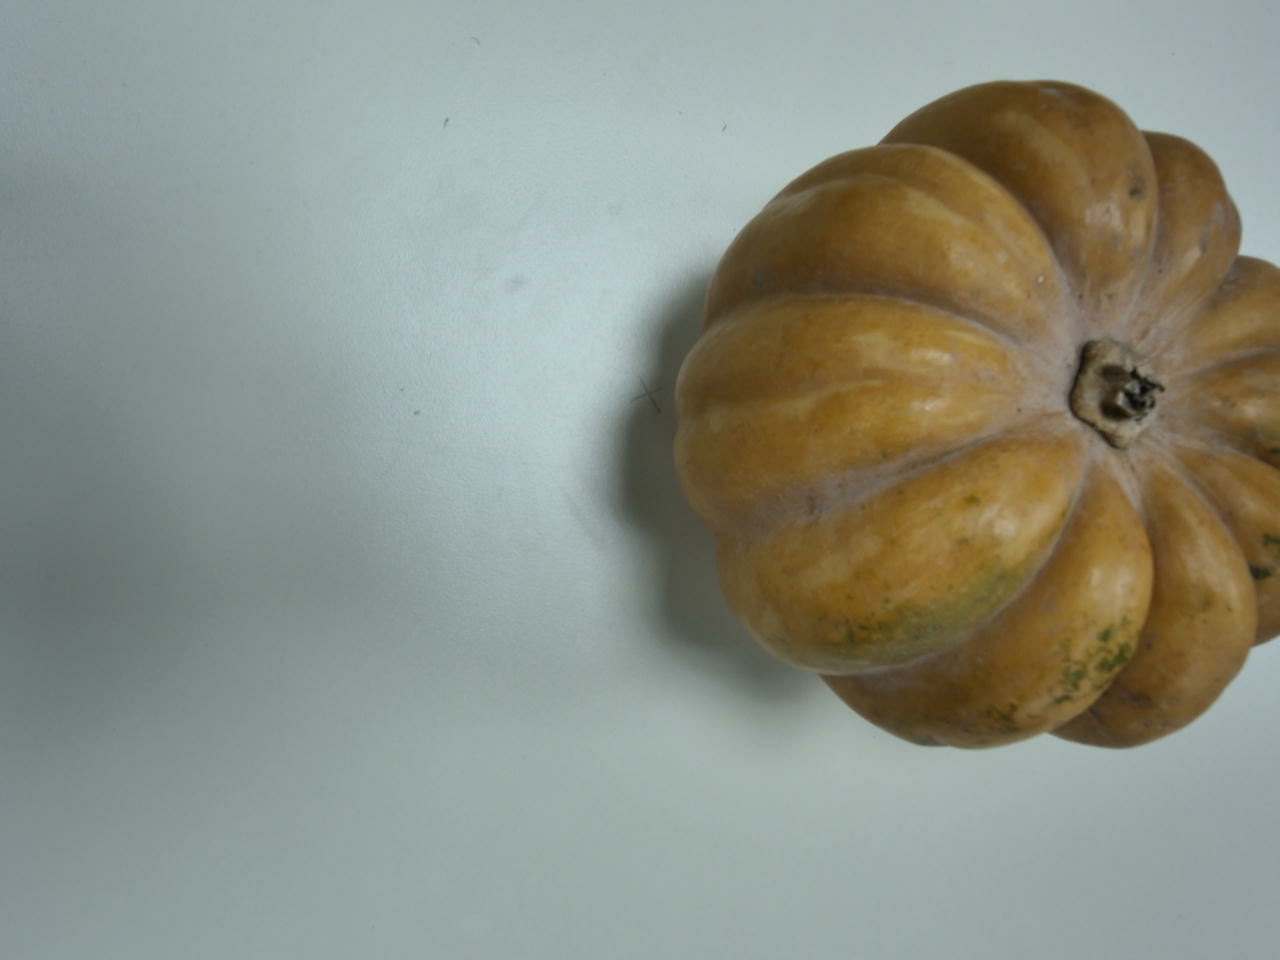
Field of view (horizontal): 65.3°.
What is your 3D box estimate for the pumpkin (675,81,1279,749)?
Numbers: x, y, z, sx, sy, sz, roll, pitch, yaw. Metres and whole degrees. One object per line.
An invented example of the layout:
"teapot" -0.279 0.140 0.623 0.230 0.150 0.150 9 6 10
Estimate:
"pumpkin" 0.122 -0.016 0.362 0.230 0.194 0.230 0 90 -12
